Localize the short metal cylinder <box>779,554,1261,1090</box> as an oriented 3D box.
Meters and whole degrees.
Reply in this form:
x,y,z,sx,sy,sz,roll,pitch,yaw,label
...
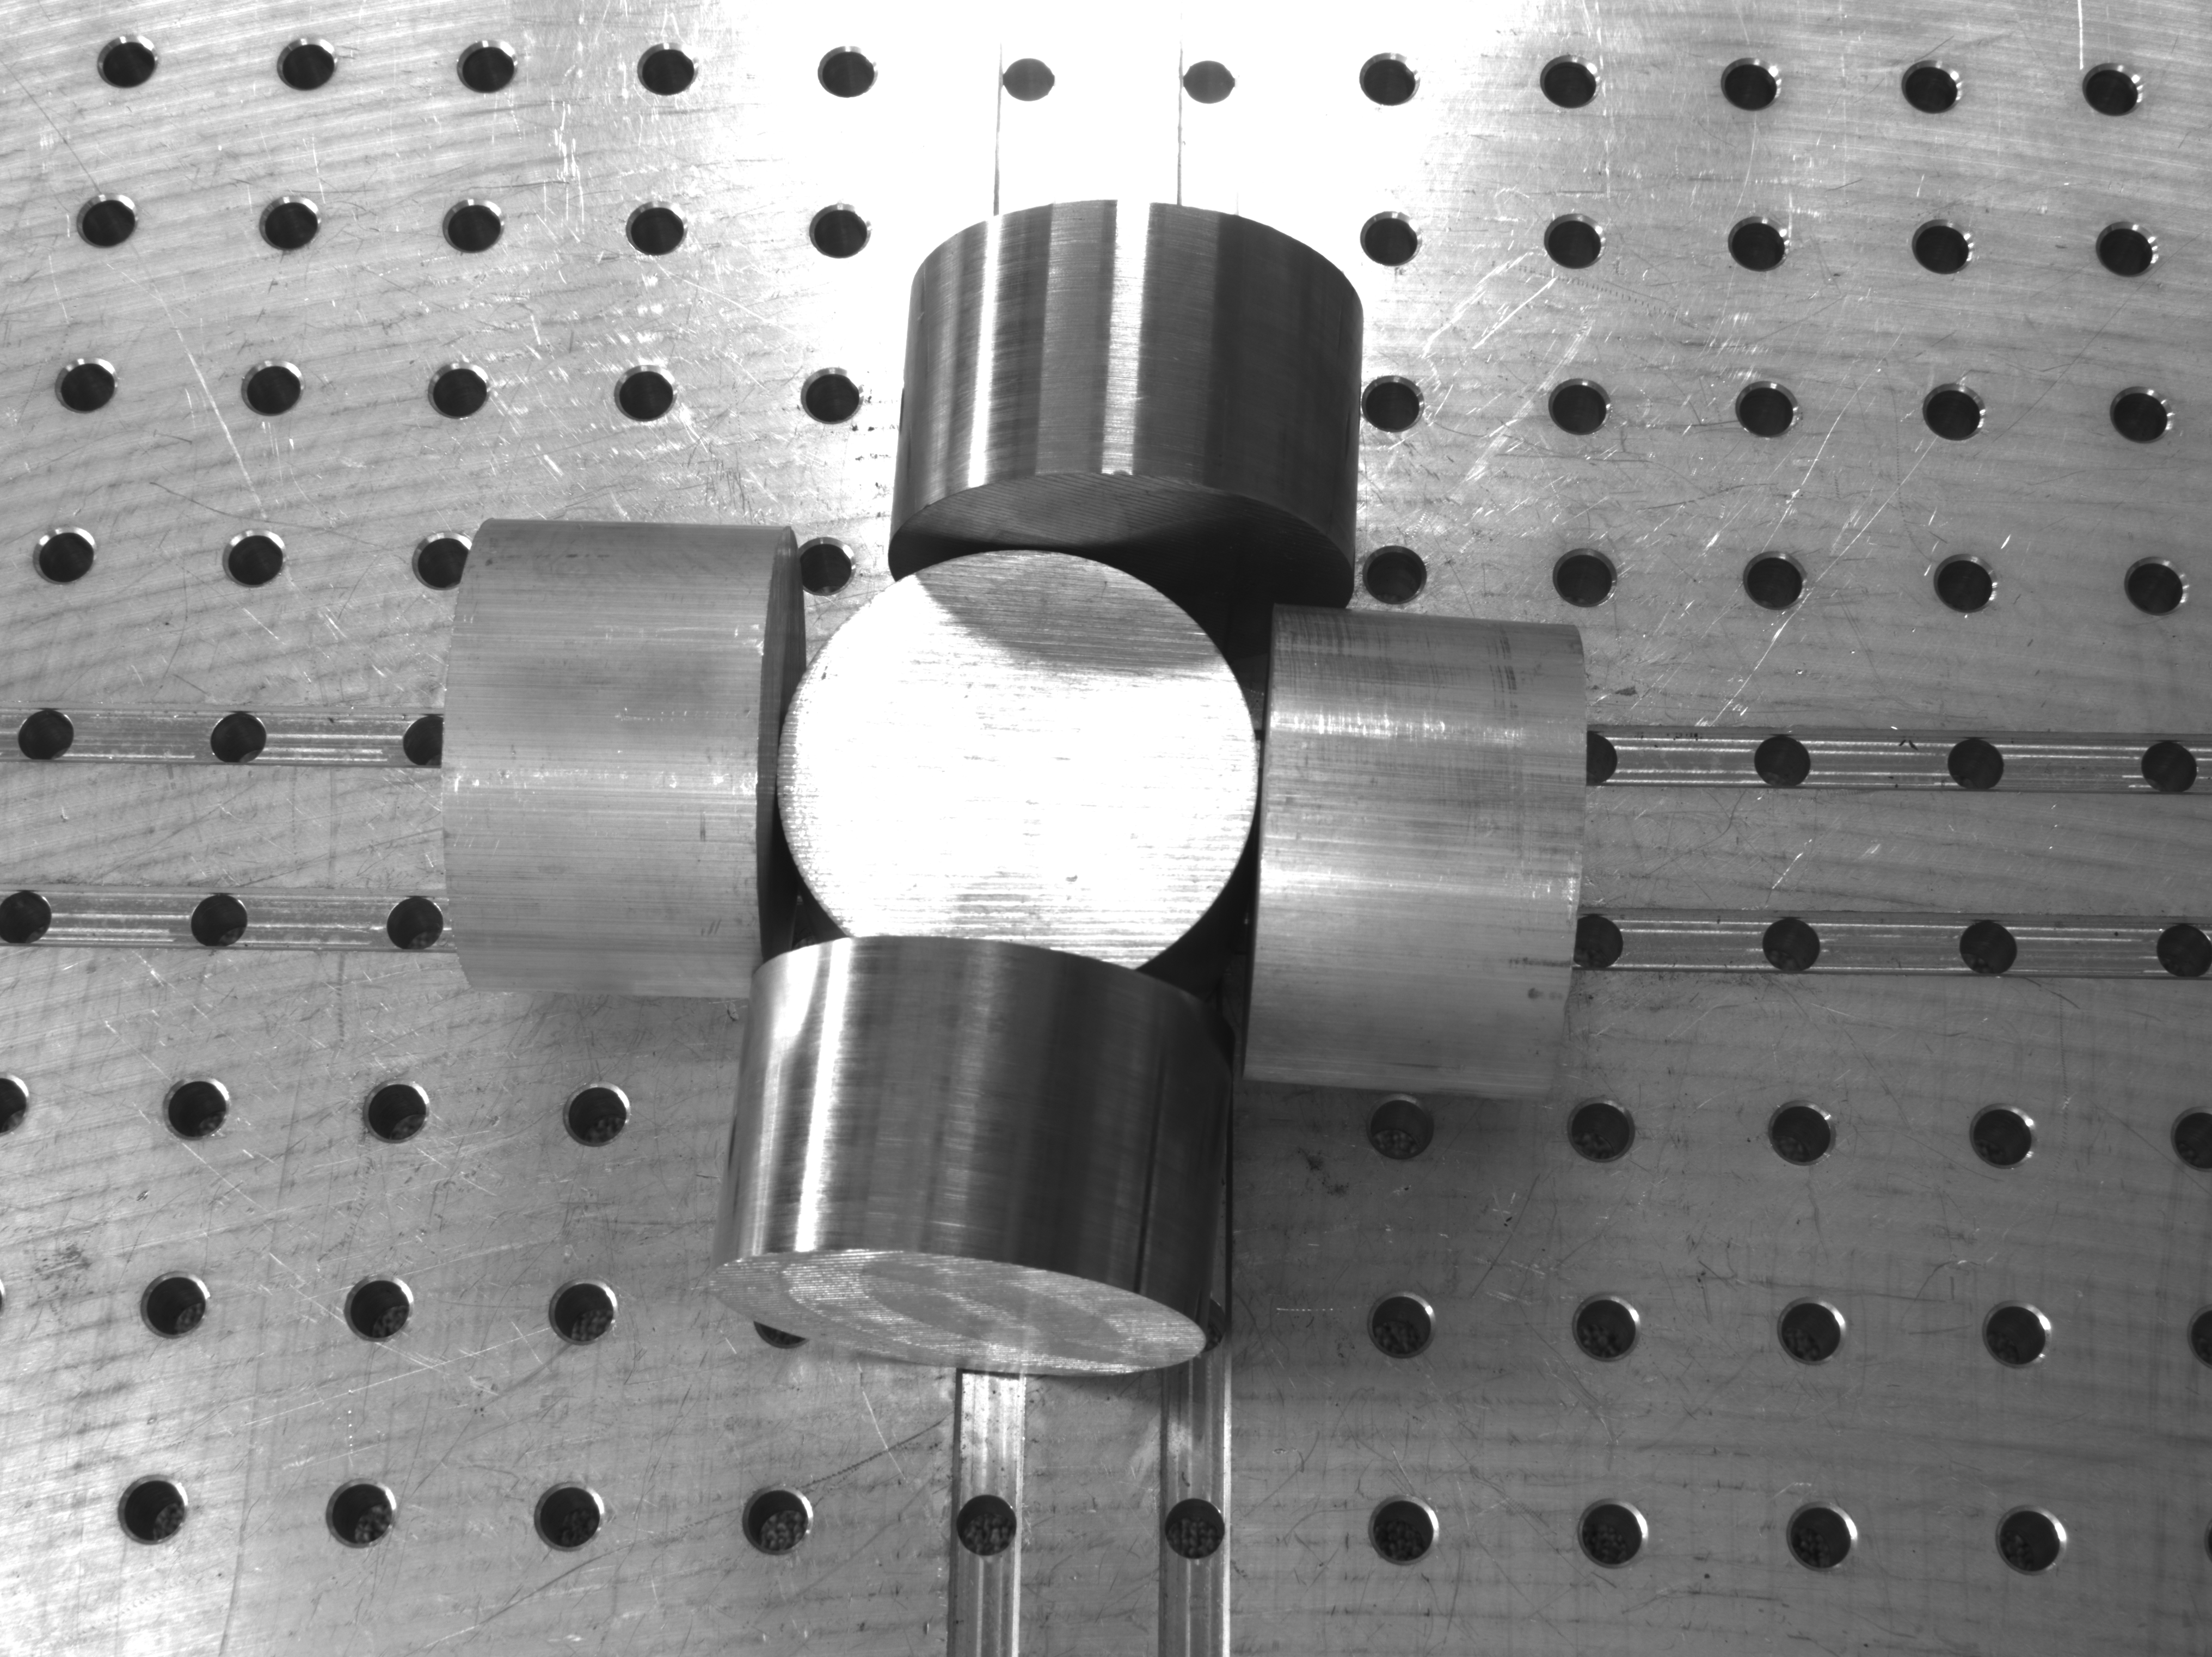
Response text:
x,y,z,sx,sy,sz,roll,pitch,yaw,label
-0.015,0.000,0.635,0.080,0.050,0.080,0,70,-1,short metal cylinder

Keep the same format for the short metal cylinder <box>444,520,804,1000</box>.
x,y,z,sx,sy,sz,roll,pitch,yaw,label
-0.079,-0.012,0.623,0.050,0.080,0.080,2,70,0,short metal cylinder

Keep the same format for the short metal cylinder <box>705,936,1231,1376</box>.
x,y,z,sx,sy,sz,roll,pitch,yaw,label
-0.022,0.055,0.597,0.080,0.080,0.050,6,69,2,short metal cylinder

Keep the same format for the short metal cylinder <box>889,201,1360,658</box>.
x,y,z,sx,sy,sz,roll,pitch,yaw,label
0.004,-0.067,0.643,0.080,0.080,0.050,3,69,1,short metal cylinder

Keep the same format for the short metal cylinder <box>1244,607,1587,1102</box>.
x,y,z,sx,sy,sz,roll,pitch,yaw,label
0.051,0.004,0.617,0.050,0.080,0.080,4,70,1,short metal cylinder
